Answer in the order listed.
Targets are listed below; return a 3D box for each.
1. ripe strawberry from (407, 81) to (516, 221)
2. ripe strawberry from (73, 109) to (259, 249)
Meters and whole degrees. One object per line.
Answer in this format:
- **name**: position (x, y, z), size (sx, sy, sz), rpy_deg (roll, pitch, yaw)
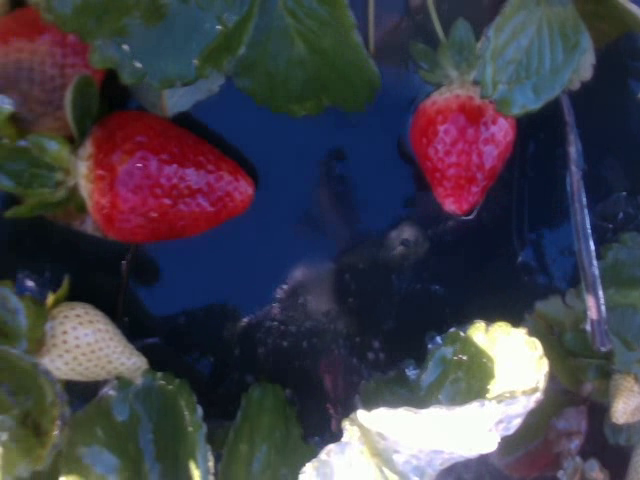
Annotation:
- **ripe strawberry**: position (0.048, -0.028, 0.187), size (0.039, 0.047, 0.040), rpy_deg (-2, 16, -15)
- **ripe strawberry**: position (-0.045, -0.014, 0.184), size (0.056, 0.044, 0.040), rpy_deg (8, 24, -20)
